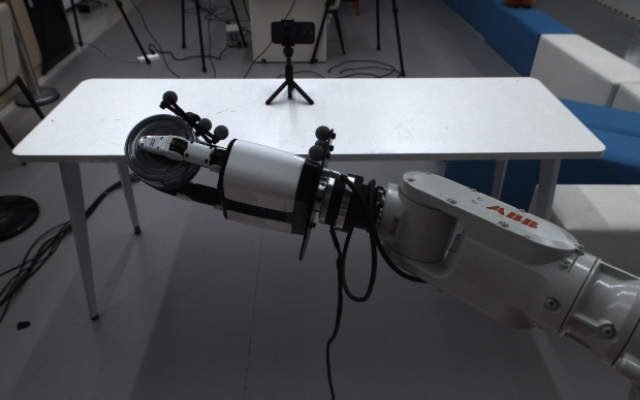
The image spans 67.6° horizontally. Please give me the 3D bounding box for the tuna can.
[{"bbox_3d":[-0.183,-0.057,0.576,0.085,0.034,0.085,0,74,-1],"label":"tuna can"}]
